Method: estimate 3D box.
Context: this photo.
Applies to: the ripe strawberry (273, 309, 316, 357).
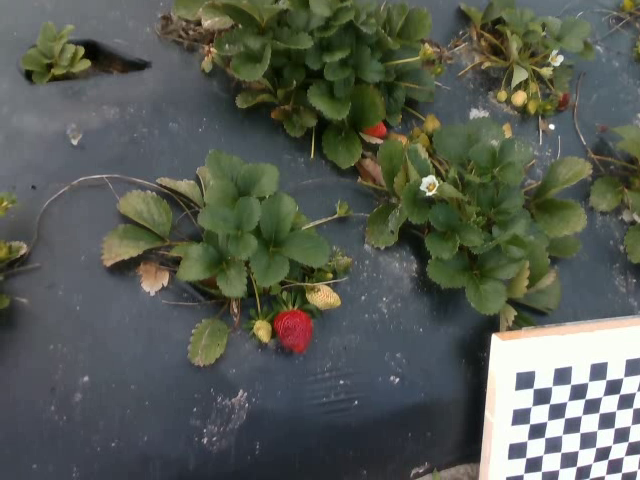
[{"bbox_3d":[-0.027,0.103,0.659,0.046,0.046,0.059,-9,38,-10],"label":"ripe strawberry"}]
